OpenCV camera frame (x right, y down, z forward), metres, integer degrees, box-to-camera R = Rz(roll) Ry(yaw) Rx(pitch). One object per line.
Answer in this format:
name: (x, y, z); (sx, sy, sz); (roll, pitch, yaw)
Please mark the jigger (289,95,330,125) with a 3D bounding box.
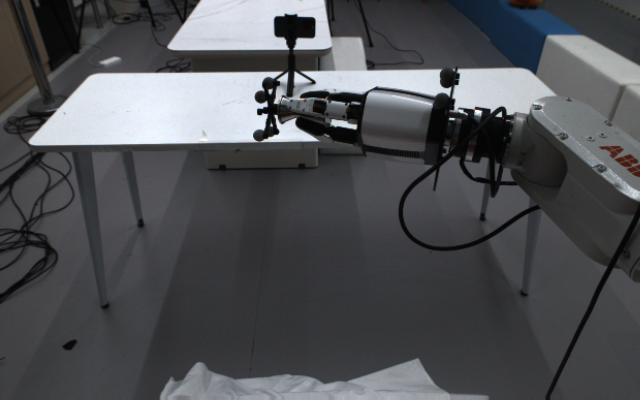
jigger: (-0.015, -0.127, 0.672); (0.071, 0.043, 0.043); (5, 34, 14)
